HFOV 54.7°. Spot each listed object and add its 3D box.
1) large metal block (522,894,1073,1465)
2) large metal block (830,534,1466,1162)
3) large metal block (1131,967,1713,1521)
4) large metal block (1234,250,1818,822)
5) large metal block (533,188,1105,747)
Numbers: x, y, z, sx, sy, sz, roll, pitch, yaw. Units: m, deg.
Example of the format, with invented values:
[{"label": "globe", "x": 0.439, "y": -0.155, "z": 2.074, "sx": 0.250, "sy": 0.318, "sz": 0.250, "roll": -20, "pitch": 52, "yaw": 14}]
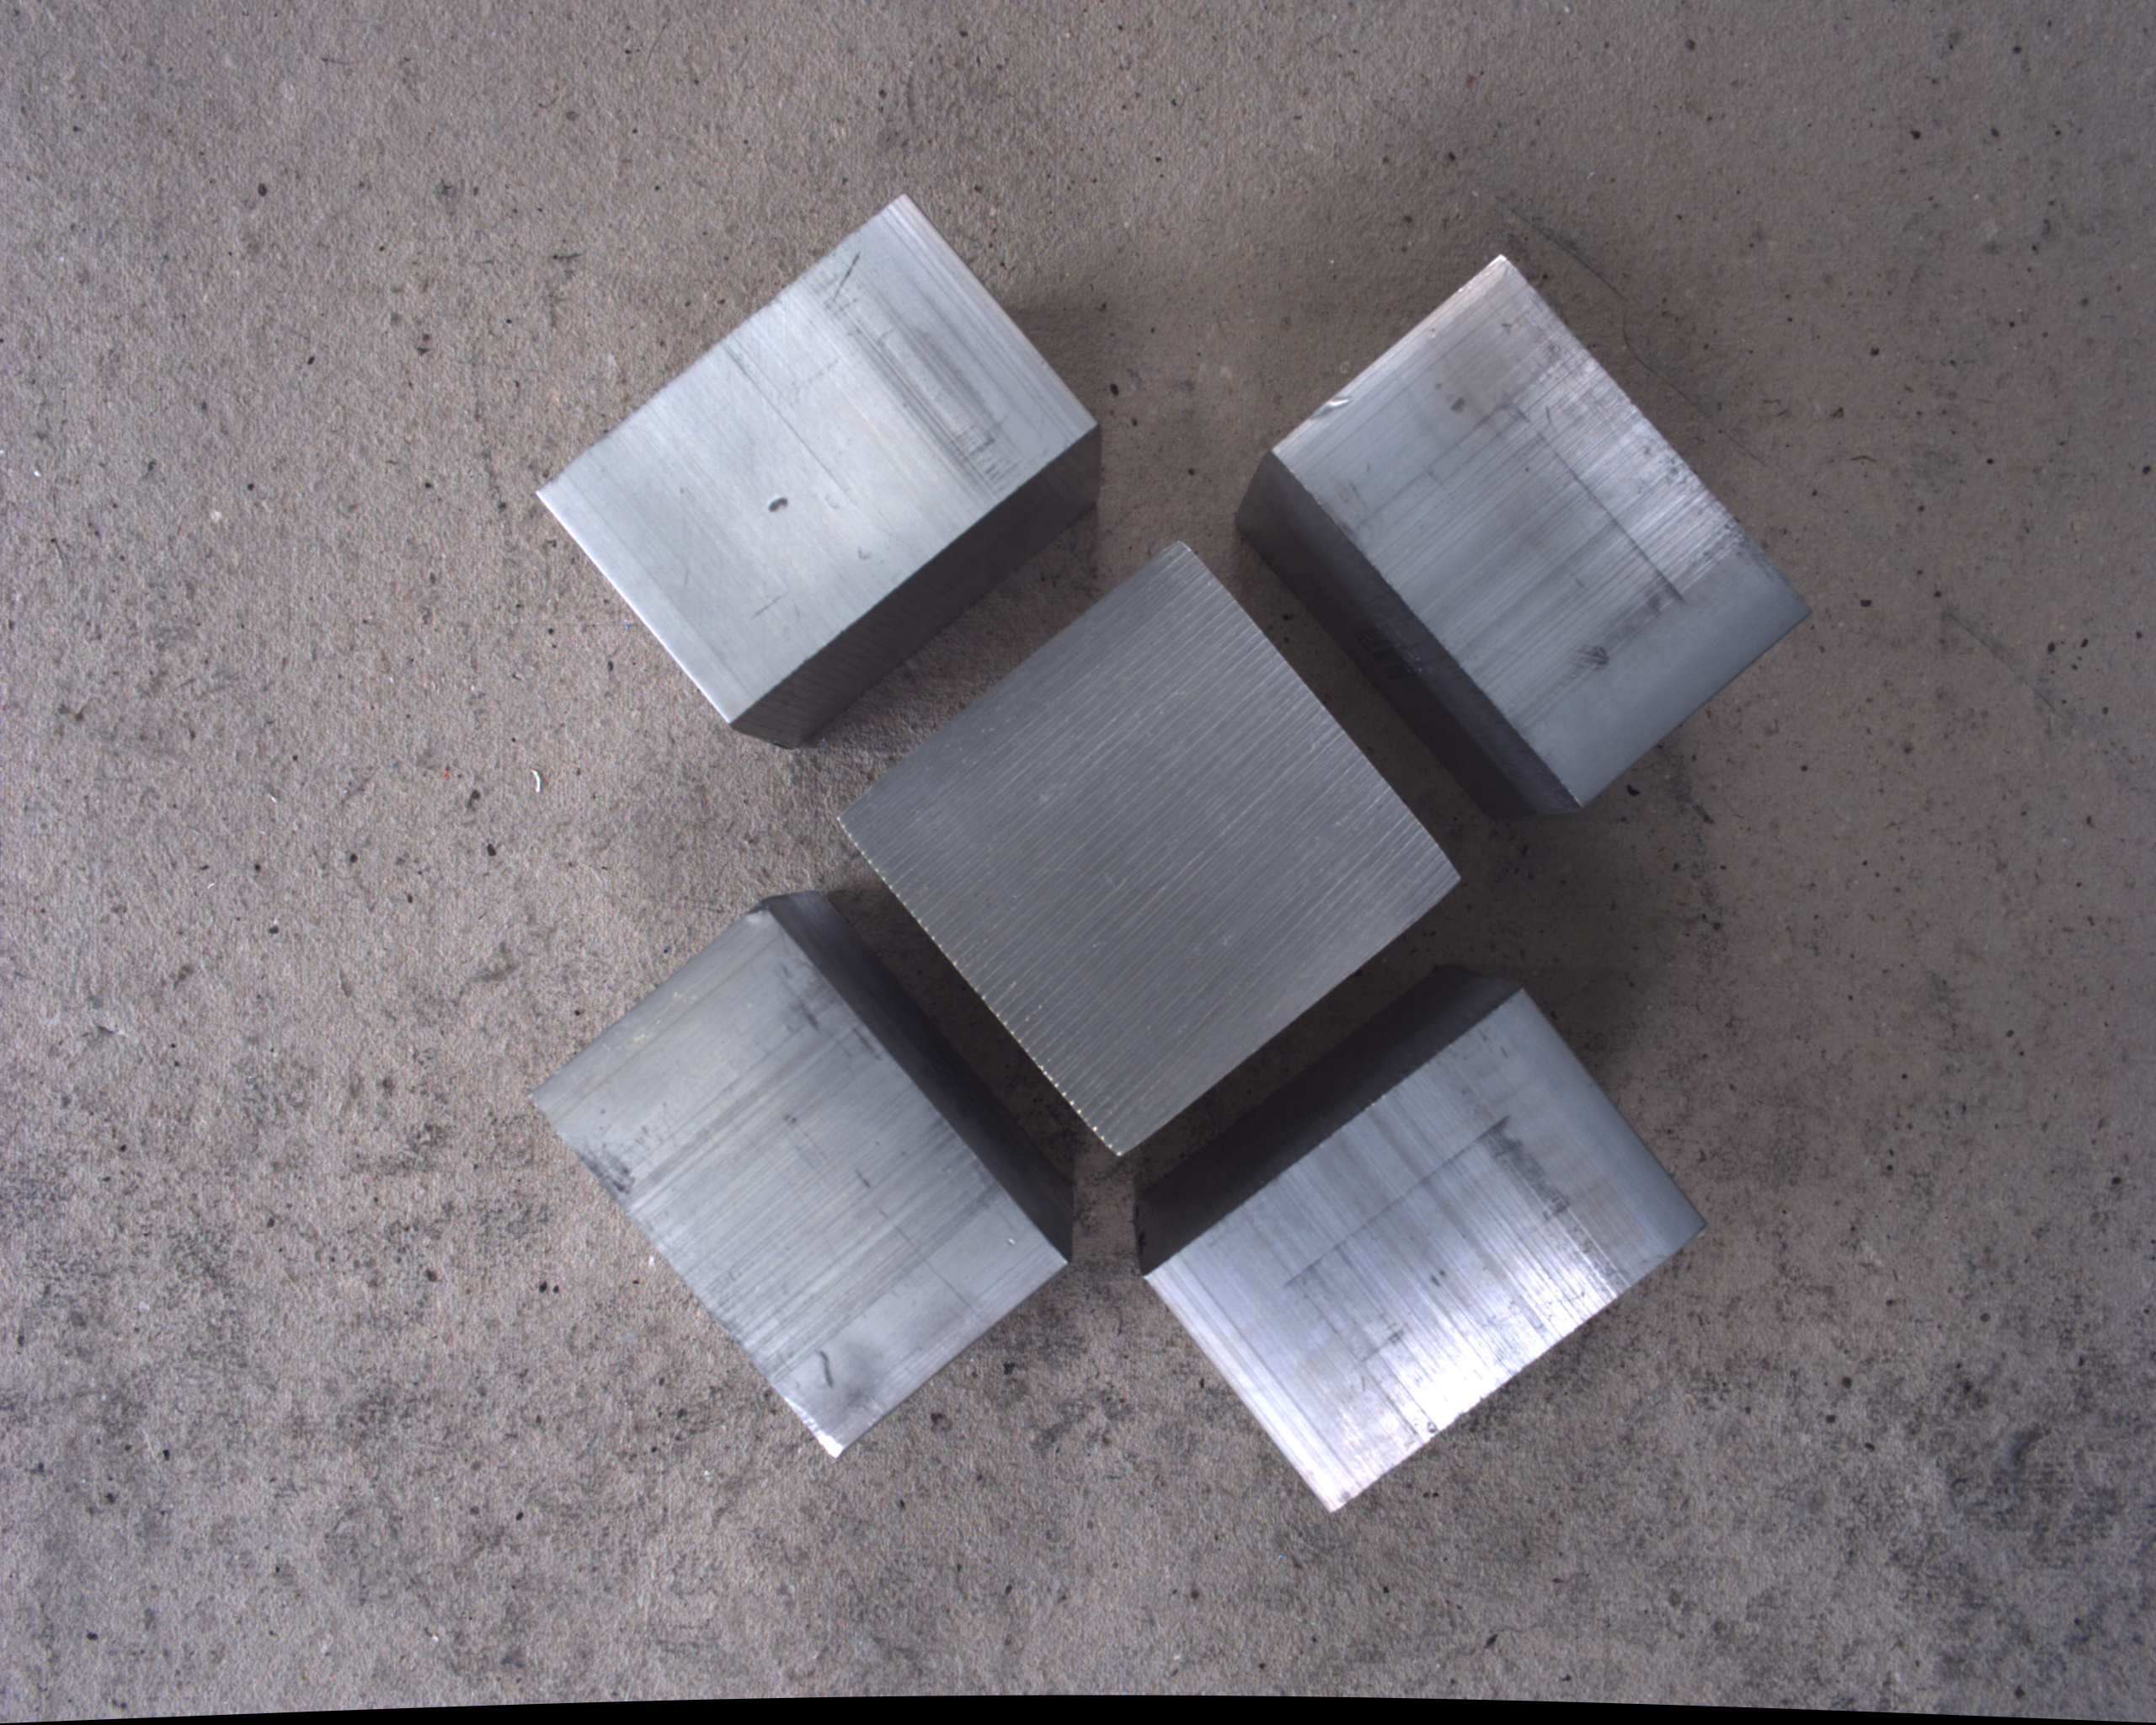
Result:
[{"label": "large metal block", "x": -0.046, "y": 0.052, "z": 0.383, "sx": 0.050, "sy": 0.080, "sz": 0.080, "roll": -40, "pitch": 90, "yaw": 0}, {"label": "large metal block", "x": 0.013, "y": -0.003, "z": 0.396, "sx": 0.080, "sy": 0.050, "sz": 0.080, "roll": -39, "pitch": 90, "yaw": 0}, {"label": "large metal block", "x": 0.058, "y": 0.064, "z": 0.383, "sx": 0.080, "sy": 0.080, "sz": 0.050, "roll": -38, "pitch": 90, "yaw": 0}, {"label": "large metal block", "x": 0.077, "y": -0.055, "z": 0.384, "sx": 0.050, "sy": 0.080, "sz": 0.080, "roll": -41, "pitch": 90, "yaw": -1}, {"label": "large metal block", "x": -0.043, "y": -0.067, "z": 0.384, "sx": 0.080, "sy": 0.080, "sz": 0.050, "roll": -39, "pitch": 90, "yaw": 0}]
